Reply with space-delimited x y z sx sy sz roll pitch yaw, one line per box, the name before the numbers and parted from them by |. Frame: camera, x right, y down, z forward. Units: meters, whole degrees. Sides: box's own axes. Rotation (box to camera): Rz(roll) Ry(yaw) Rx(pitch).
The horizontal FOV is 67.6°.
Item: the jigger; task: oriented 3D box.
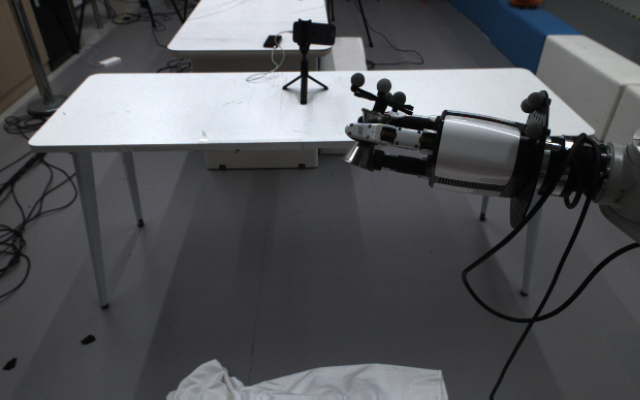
jigger | 0.057 -0.075 0.594 0.043 0.071 0.043 22 6 -2
